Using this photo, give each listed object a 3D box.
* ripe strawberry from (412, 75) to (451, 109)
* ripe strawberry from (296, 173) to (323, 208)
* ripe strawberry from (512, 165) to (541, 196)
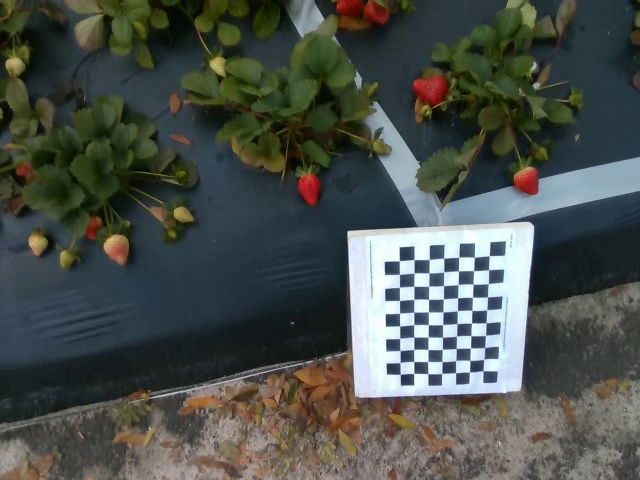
[{"bbox_3d":[0.160,-0.216,0.799,0.062,0.043,0.043,18,25,0],"label":"ripe strawberry"},{"bbox_3d":[-0.010,-0.071,0.756,0.036,0.046,0.040,-13,-25,15],"label":"ripe strawberry"},{"bbox_3d":[0.296,-0.084,0.791,0.039,0.047,0.041,-34,10,21],"label":"ripe strawberry"}]
